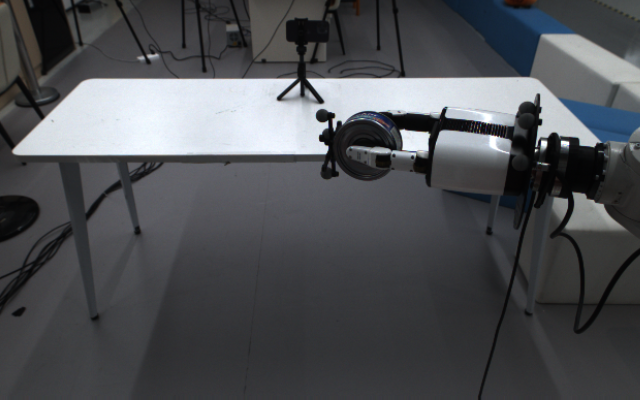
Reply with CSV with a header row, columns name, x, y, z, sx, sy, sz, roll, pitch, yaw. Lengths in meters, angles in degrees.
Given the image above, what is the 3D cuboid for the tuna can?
name,x,y,z,sx,sy,sz,roll,pitch,yaw
tuna can,0.064,-0.067,0.622,0.085,0.085,0.034,12,28,14
